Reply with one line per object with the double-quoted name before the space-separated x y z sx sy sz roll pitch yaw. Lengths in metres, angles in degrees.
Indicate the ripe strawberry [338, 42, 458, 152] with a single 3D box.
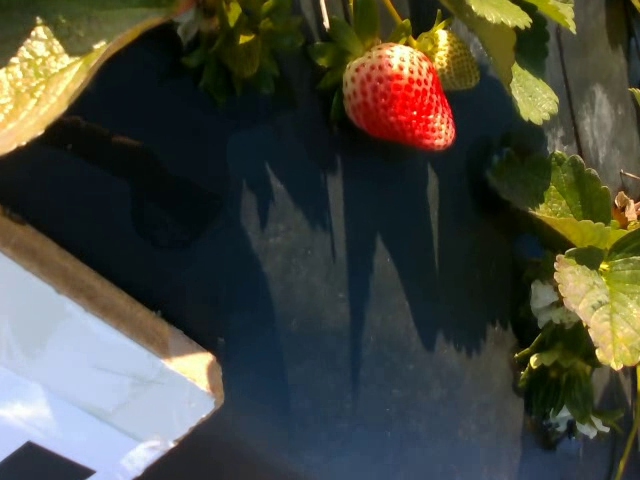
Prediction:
"ripe strawberry" 0.025 -0.041 0.184 0.045 0.037 0.042 45 21 31
